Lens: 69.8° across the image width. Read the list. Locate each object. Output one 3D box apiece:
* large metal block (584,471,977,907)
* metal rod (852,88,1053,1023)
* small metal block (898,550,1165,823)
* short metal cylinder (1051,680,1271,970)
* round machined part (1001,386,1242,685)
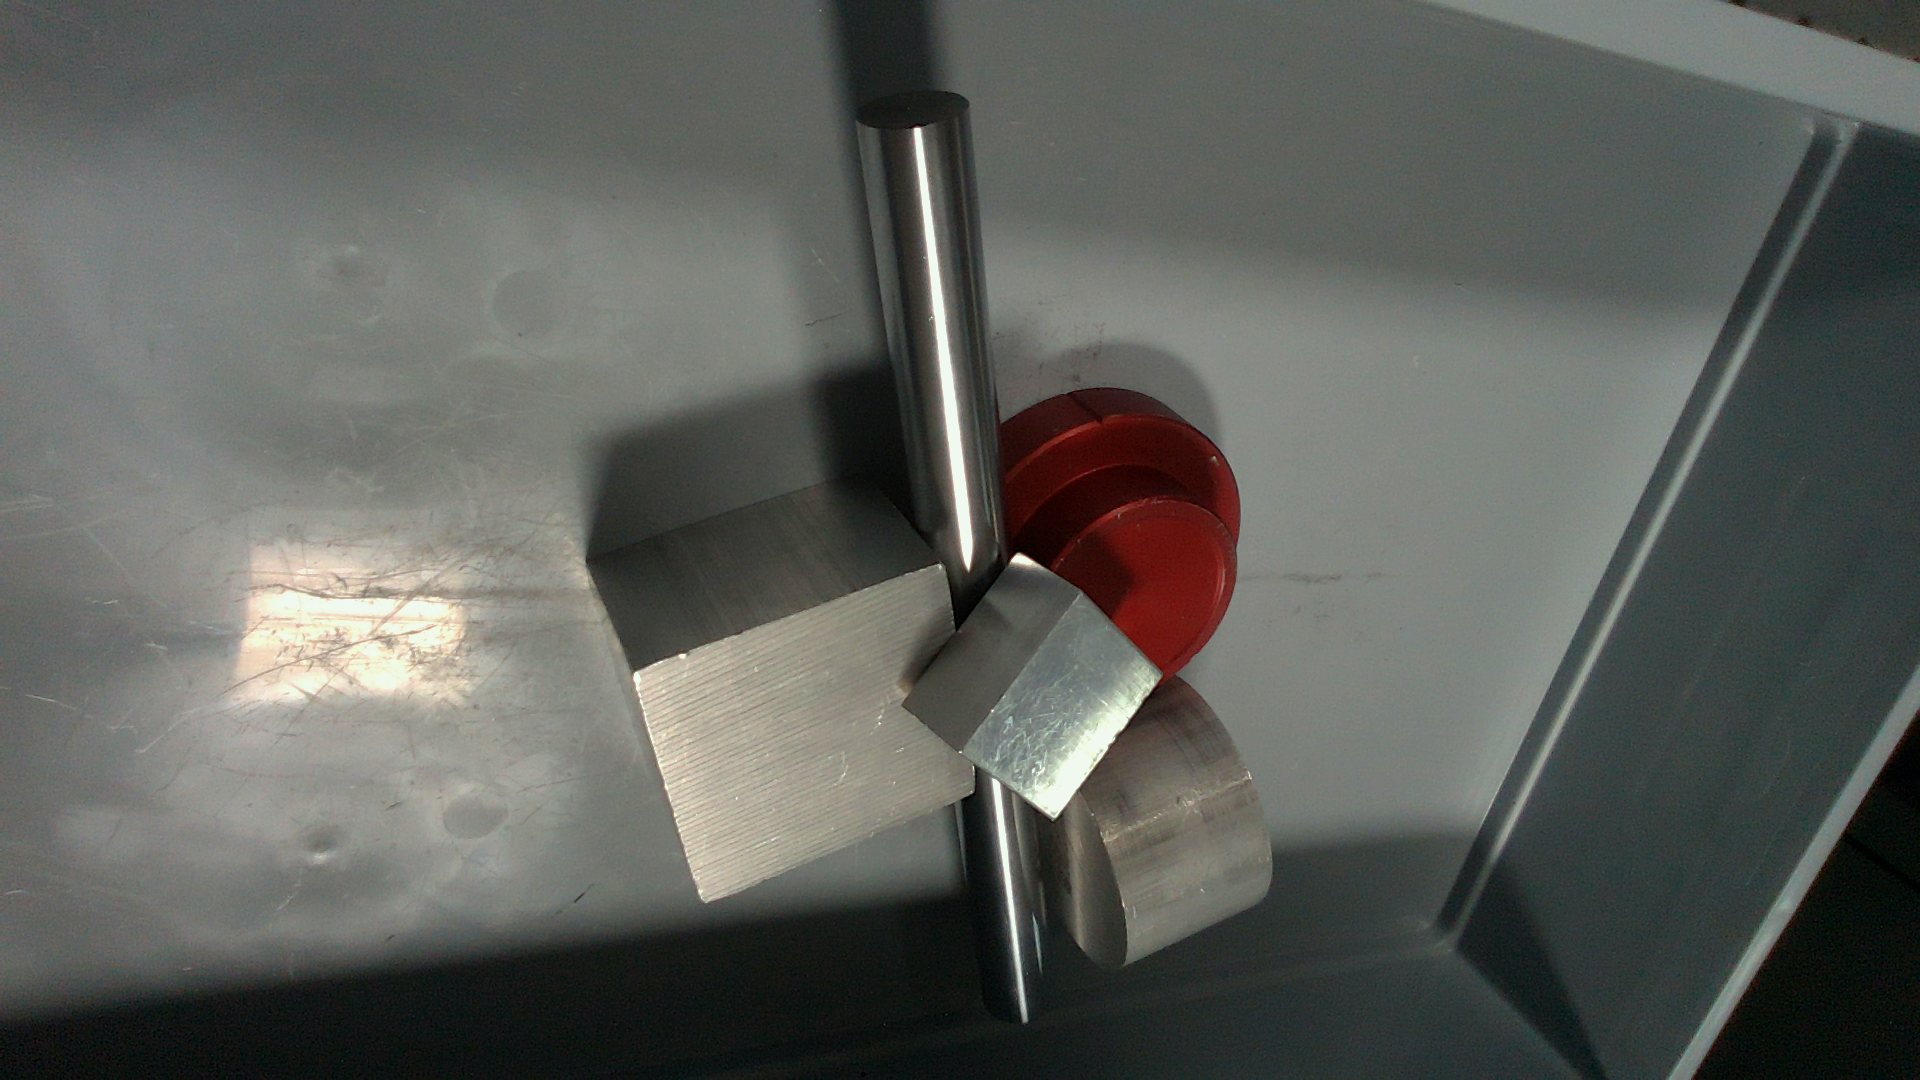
[{"bbox_3d":[-0.046,0.038,0.367,0.080,0.050,0.080,-19,126,-17],"label":"large metal block"},{"bbox_3d":[0.004,0.029,0.381,0.025,0.025,0.300,-19,126,-17],"label":"metal rod"},{"bbox_3d":[0.020,0.039,0.360,0.050,0.025,0.050,-52,136,-5],"label":"small metal block"},{"bbox_3d":[0.054,0.087,0.435,0.050,0.080,0.080,-19,126,-17],"label":"short metal cylinder"},{"bbox_3d":[0.042,0.008,0.404,0.098,0.042,0.098,-14,124,-21],"label":"round machined part"}]
